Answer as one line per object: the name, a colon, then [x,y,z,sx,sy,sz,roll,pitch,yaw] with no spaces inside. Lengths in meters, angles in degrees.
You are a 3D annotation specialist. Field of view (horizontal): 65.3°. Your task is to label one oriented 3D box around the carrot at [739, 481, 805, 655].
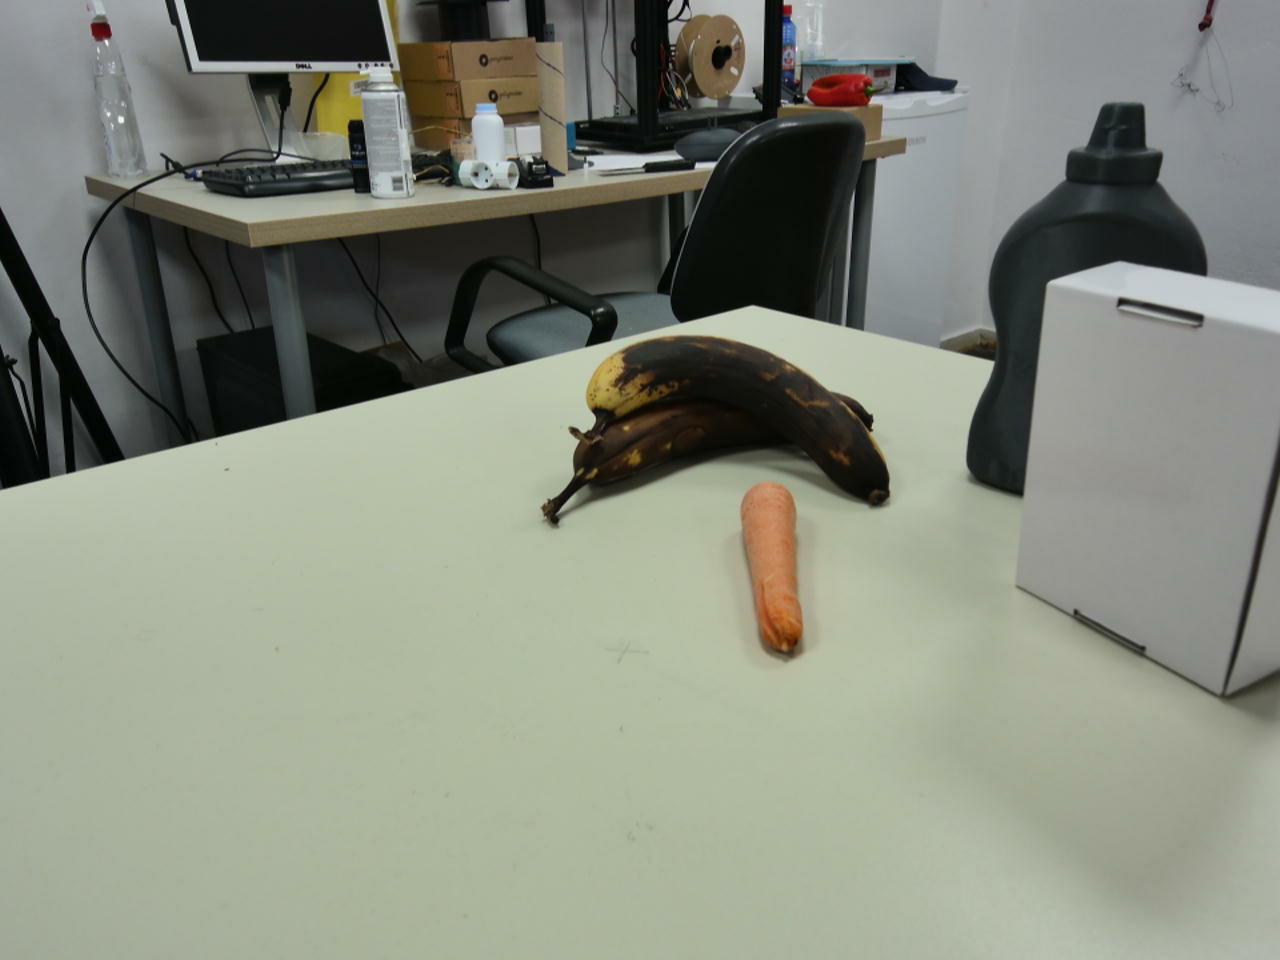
carrot: [0.063,0.036,0.475,0.030,0.032,0.136,1,22,4]
